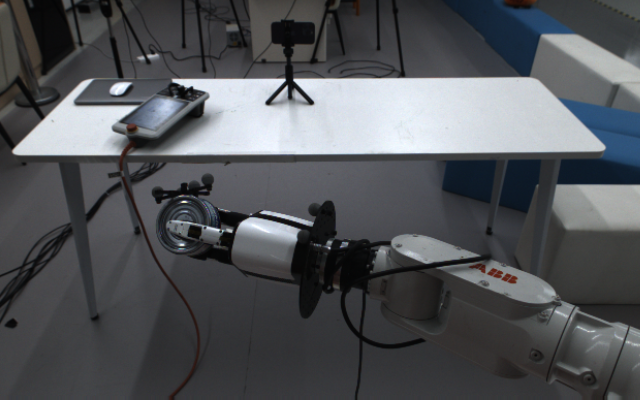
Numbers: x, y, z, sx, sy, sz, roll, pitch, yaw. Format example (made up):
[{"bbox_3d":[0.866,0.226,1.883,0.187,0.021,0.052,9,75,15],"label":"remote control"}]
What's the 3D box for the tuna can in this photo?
[{"bbox_3d":[-0.183,0.042,0.680,0.085,0.085,0.034,12,-6,15],"label":"tuna can"}]
